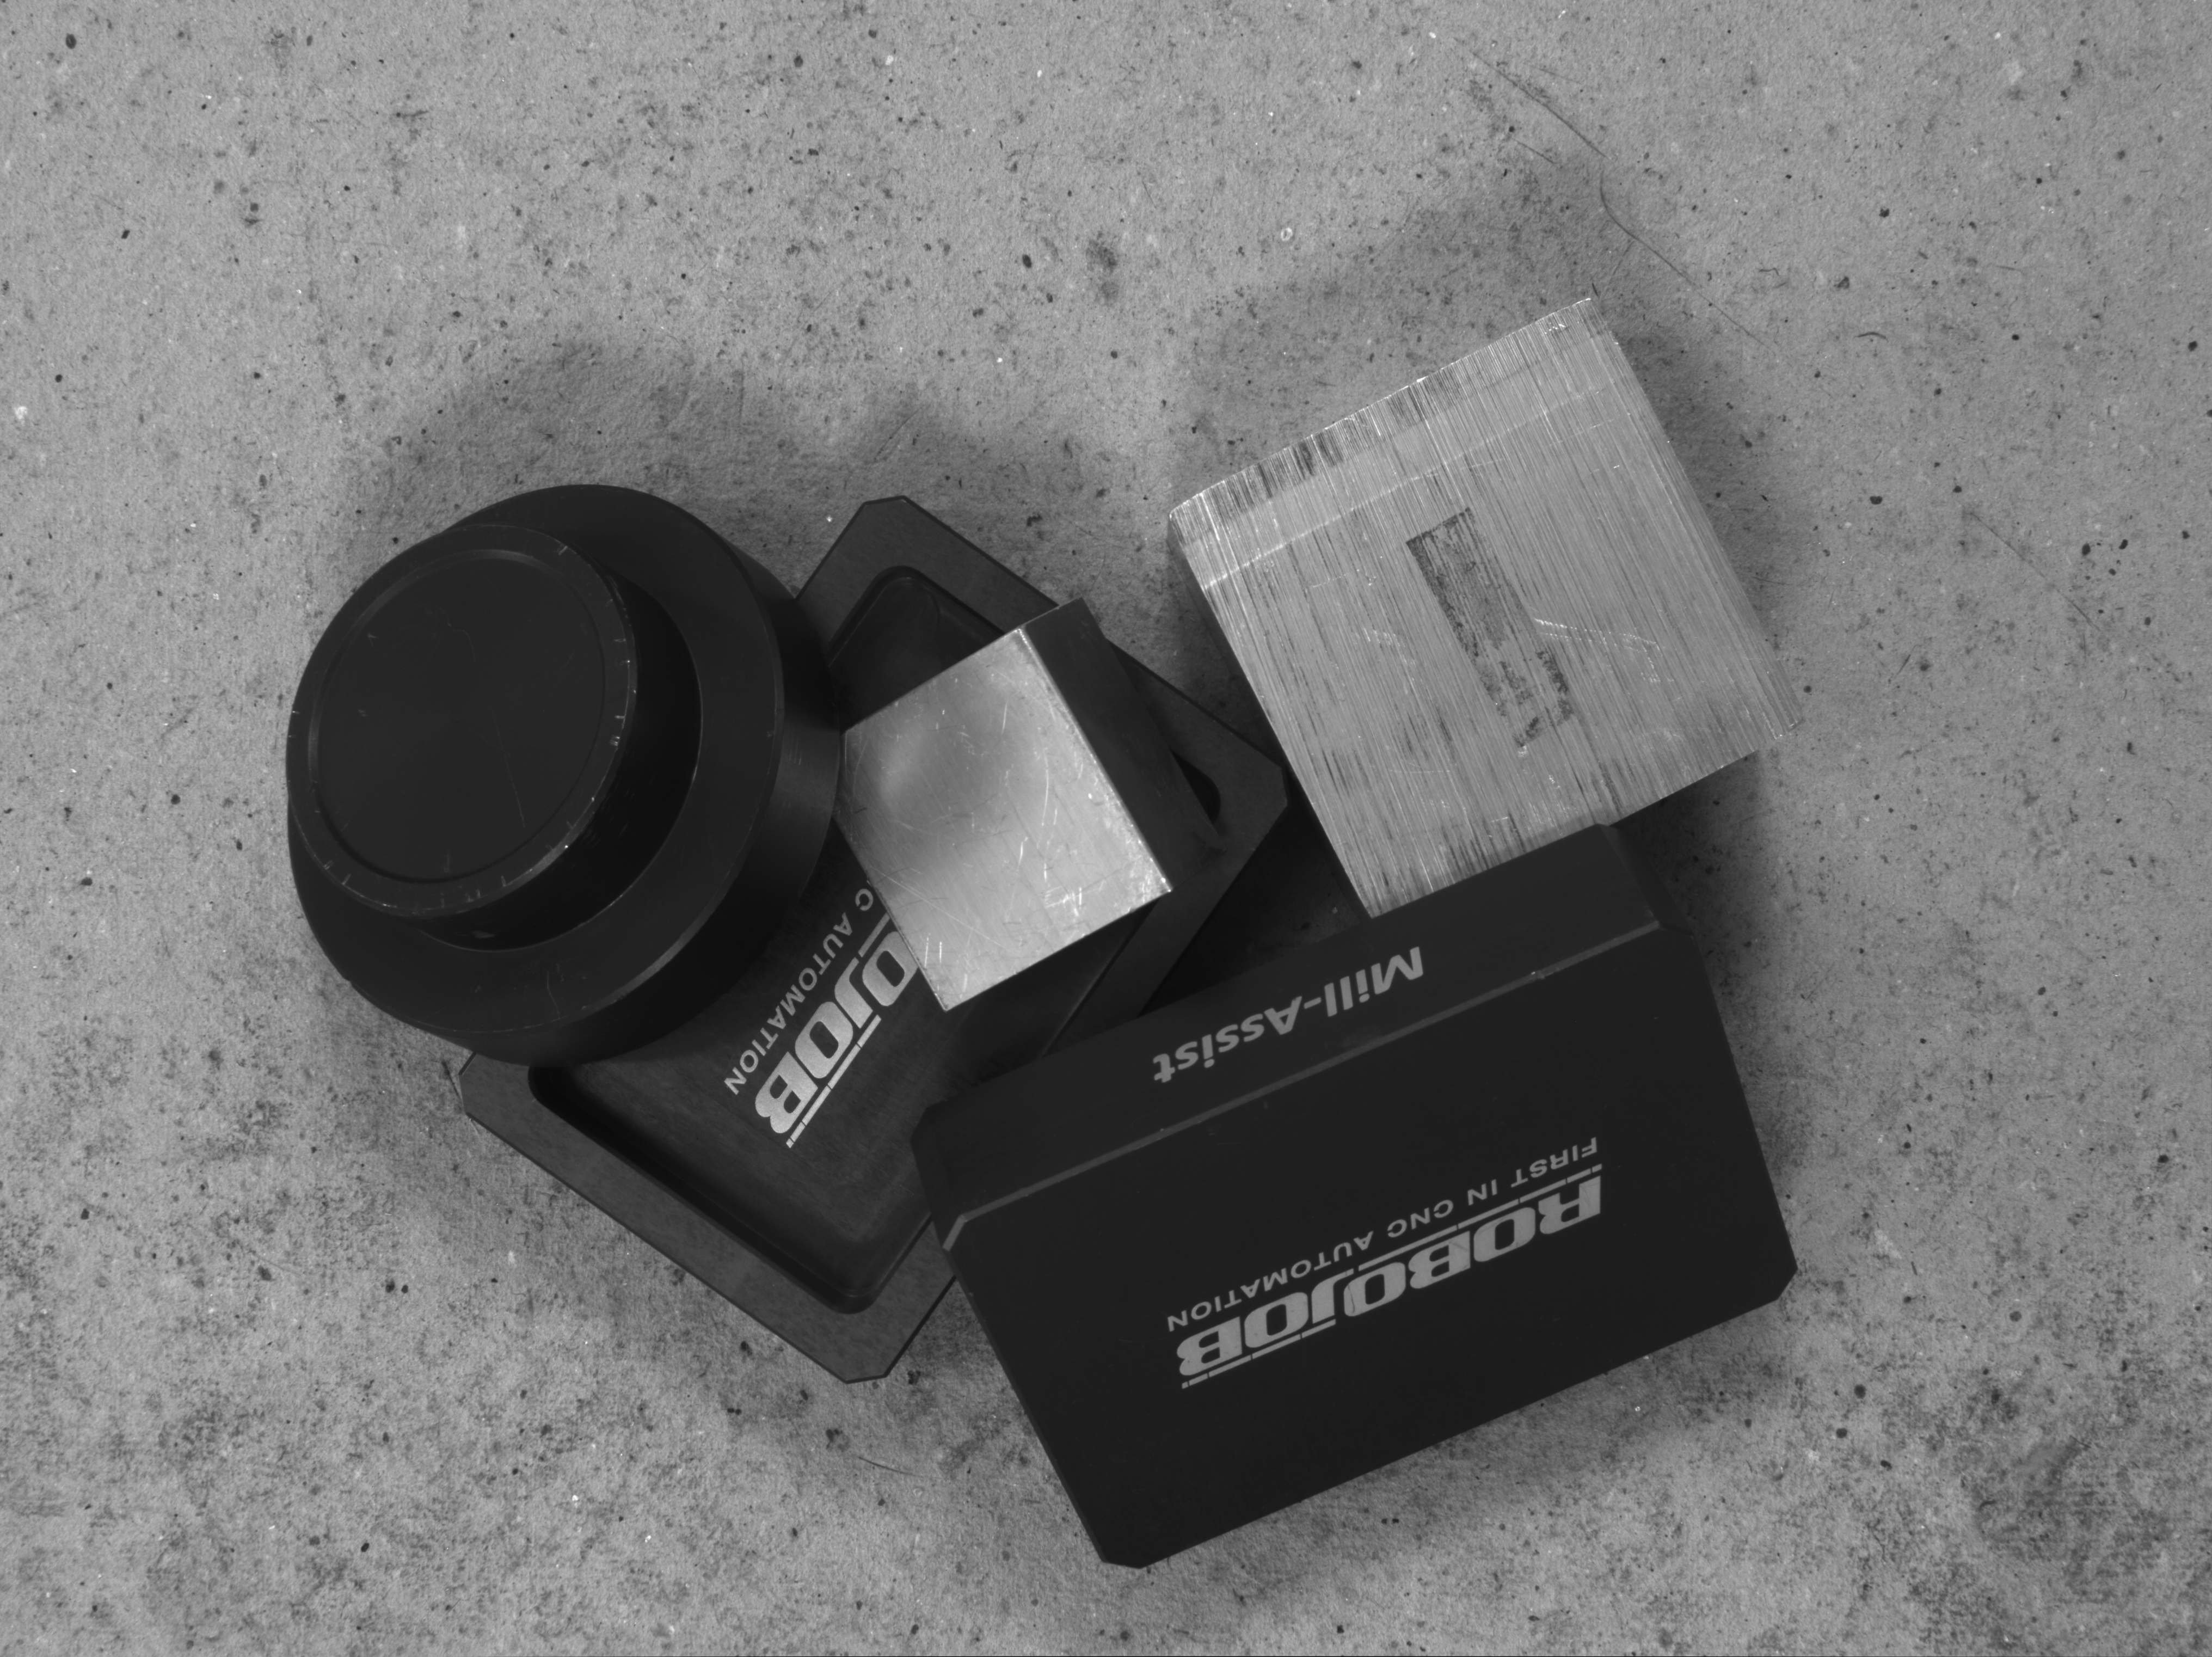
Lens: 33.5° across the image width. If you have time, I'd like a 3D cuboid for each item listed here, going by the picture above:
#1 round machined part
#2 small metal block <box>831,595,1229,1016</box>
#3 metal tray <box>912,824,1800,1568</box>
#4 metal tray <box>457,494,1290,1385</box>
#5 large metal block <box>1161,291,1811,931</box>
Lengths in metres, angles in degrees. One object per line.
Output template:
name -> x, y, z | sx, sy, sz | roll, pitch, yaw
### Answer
round machined part -> -0.097, -0.013, 0.617 | 0.098, 0.042, 0.098 | -8, 69, 23
small metal block -> -0.016, -0.004, 0.623 | 0.050, 0.025, 0.050 | -29, 92, 28
metal tray -> 0.044, 0.064, 0.620 | 0.130, 0.030, 0.090 | -23, 126, 0
metal tray -> -0.040, 0.019, 0.643 | 0.090, 0.030, 0.130 | 35, 90, 0
large metal block -> 0.063, -0.035, 0.634 | 0.080, 0.050, 0.080 | -27, 90, 0
